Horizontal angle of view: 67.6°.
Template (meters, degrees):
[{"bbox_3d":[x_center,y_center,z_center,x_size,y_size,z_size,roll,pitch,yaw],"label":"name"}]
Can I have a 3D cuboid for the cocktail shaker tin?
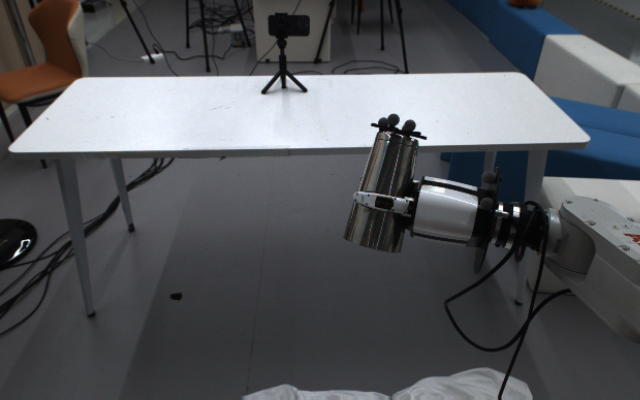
[{"bbox_3d":[0.100,-0.015,0.743,0.093,0.170,0.093,13,4,-1],"label":"cocktail shaker tin"}]
